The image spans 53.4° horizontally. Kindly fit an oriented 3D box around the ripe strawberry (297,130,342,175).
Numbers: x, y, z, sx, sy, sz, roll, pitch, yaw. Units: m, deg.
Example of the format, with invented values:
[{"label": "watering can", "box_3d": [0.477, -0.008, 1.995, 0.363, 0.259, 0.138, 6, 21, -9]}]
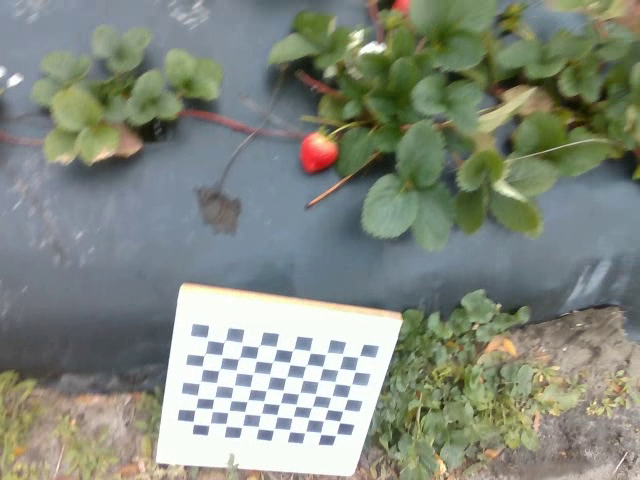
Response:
[{"label": "ripe strawberry", "box_3d": [-0.006, -0.127, 0.916, 0.061, 0.065, 0.050, 18, 17, -20]}]
